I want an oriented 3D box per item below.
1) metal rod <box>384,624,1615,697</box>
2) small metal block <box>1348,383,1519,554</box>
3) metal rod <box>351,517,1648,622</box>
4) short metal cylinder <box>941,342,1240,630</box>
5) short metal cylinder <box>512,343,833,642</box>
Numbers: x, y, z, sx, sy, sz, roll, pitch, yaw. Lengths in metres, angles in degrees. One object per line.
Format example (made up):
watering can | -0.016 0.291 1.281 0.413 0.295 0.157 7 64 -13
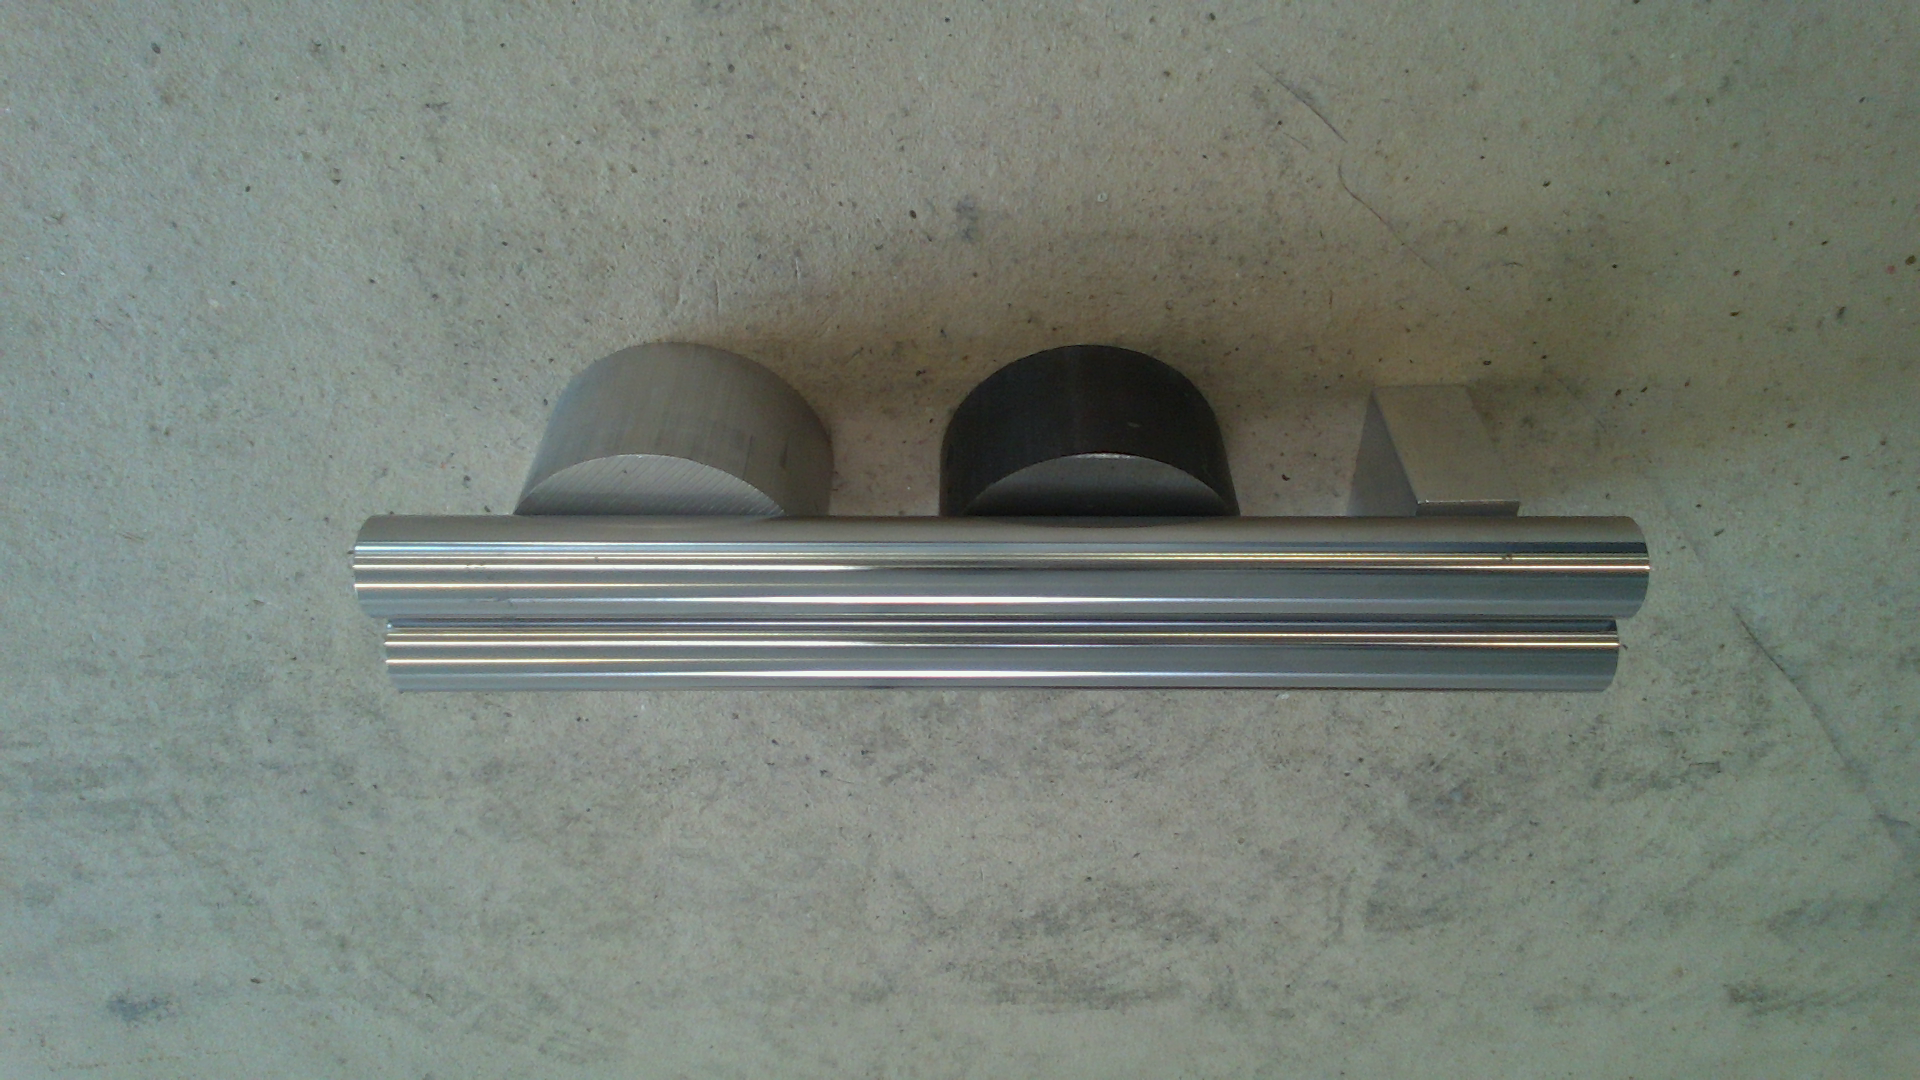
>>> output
metal rod | 0.010 0.027 0.347 0.300 0.025 0.025 0 130 0
small metal block | 0.124 -0.007 0.371 0.025 0.050 0.050 -2 130 1
metal rod | 0.010 0.007 0.330 0.300 0.025 0.025 0 130 0
short metal cylinder | 0.034 -0.006 0.370 0.080 0.050 0.080 0 130 0
short metal cylinder | -0.076 -0.005 0.369 0.080 0.050 0.080 0 130 0
